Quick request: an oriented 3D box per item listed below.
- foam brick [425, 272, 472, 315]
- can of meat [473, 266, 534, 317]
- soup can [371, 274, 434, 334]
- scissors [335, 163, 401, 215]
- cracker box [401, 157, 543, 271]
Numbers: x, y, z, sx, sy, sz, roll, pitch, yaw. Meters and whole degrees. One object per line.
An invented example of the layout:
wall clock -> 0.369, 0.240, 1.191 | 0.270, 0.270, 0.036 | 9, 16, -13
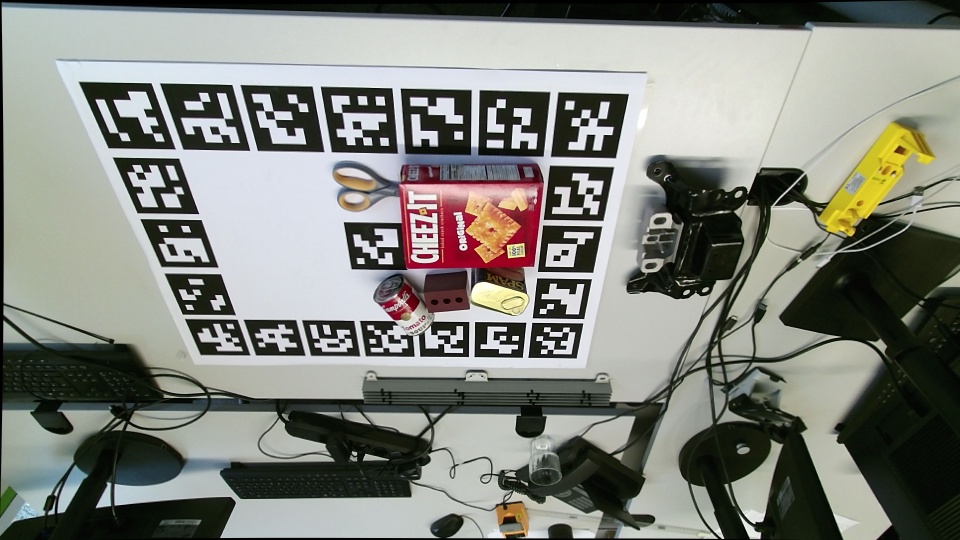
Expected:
foam brick -> -0.057, 0.042, 0.971 | 0.078, 0.051, 0.053 | -8, 124, 4
can of meat -> 0.040, 0.028, 0.940 | 0.102, 0.083, 0.058 | 13, 123, -9
soup can -> -0.140, 0.064, 0.983 | 0.068, 0.067, 0.102 | -31, 125, 19
scissors -> -0.124, -0.132, 0.853 | 0.203, 0.016, 0.088 | -3, 125, 1
cracker box -> -0.008, -0.083, 0.852 | 0.214, 0.071, 0.164 | -5, 126, -2
